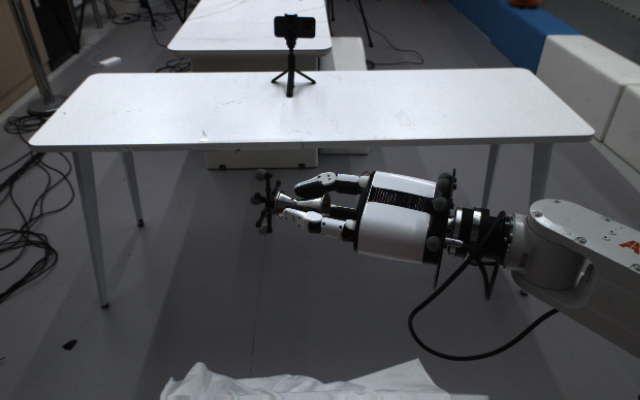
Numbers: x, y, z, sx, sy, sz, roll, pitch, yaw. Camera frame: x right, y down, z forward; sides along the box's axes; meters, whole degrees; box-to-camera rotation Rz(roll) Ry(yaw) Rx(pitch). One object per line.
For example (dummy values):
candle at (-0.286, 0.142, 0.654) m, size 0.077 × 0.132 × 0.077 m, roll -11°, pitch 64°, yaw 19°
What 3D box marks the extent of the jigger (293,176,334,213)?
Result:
jigger at (-0.017, 0.006, 0.667) m, size 0.071 × 0.043 × 0.043 m, roll 5°, pitch 34°, yaw 17°
